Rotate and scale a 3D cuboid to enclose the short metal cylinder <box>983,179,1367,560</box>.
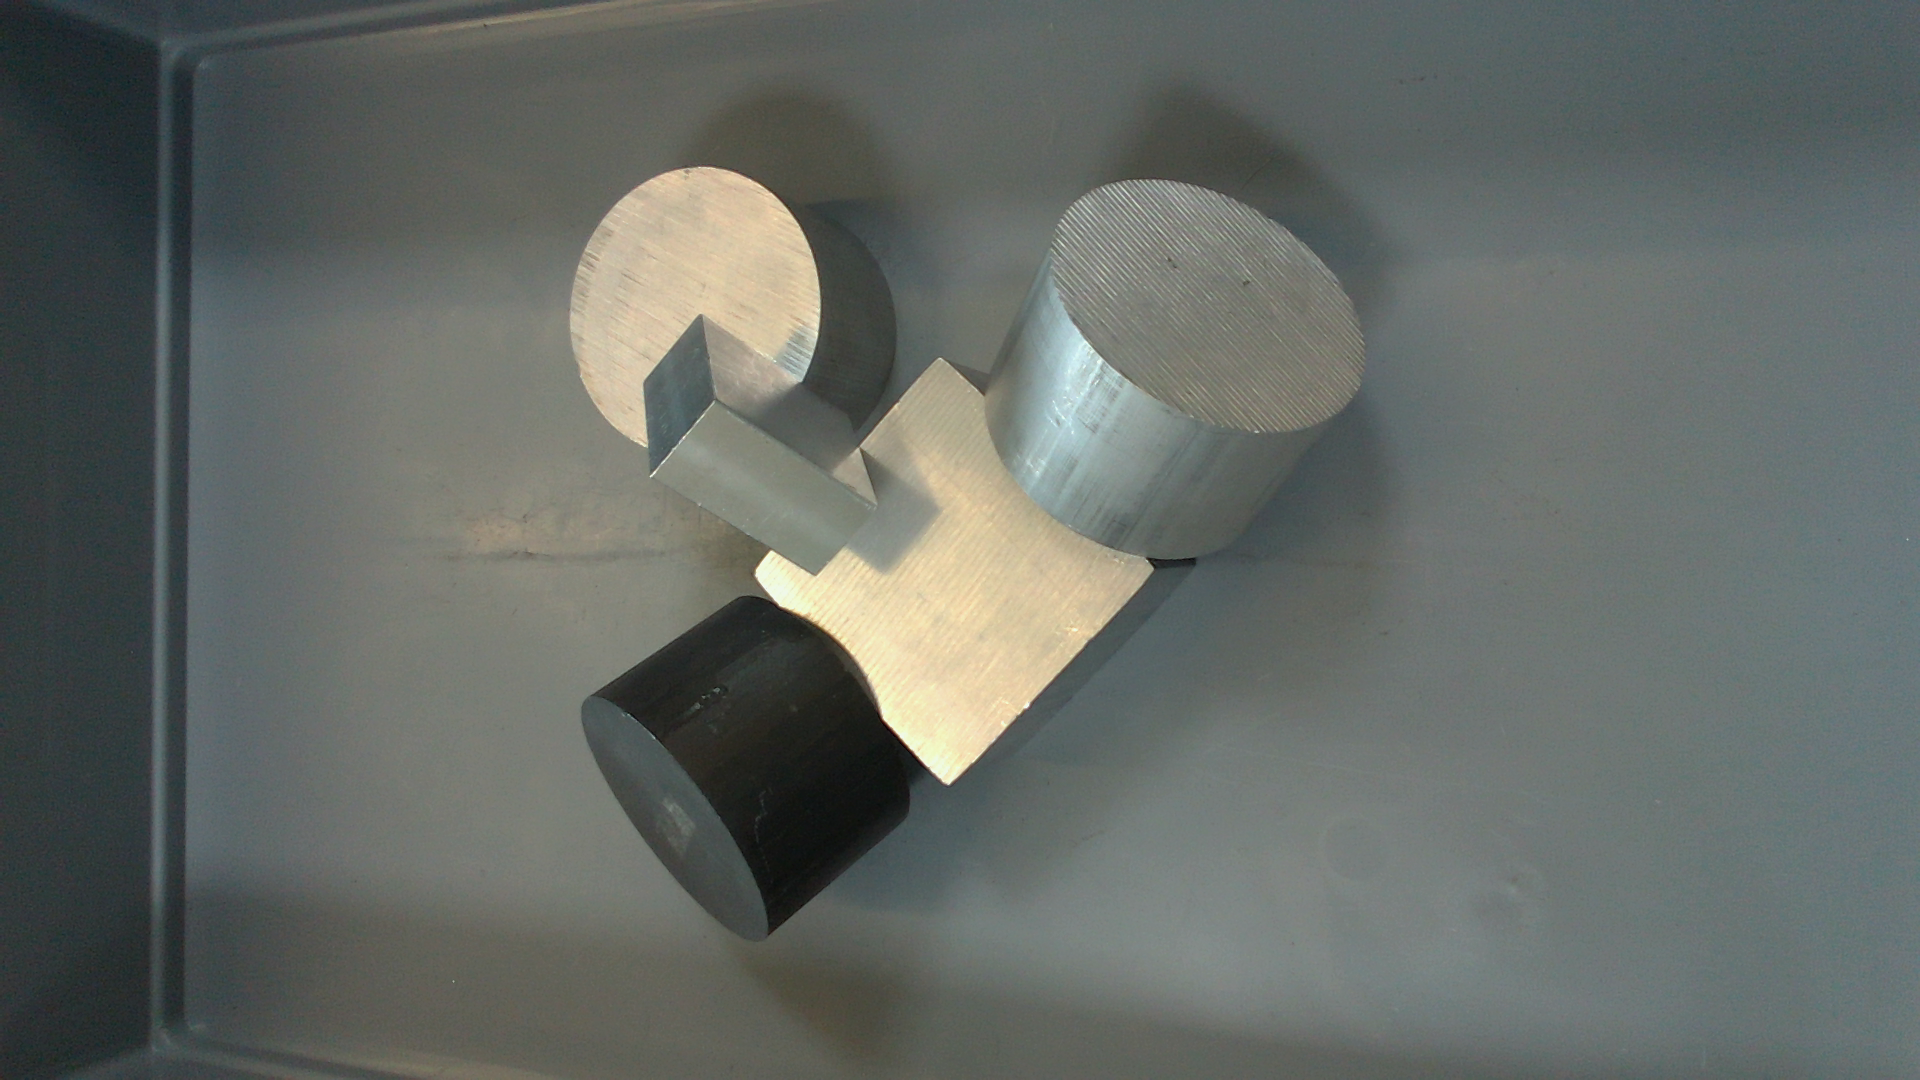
[{"bbox_3d":[0.051,-0.042,0.339,0.080,0.080,0.050,45,143,14],"label":"short metal cylinder"}]

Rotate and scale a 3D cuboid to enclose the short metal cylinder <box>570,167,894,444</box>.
[{"bbox_3d":[-0.066,-0.063,0.405,0.080,0.050,0.080,0,90,20],"label":"short metal cylinder"}]

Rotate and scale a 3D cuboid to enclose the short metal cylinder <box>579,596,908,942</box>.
[{"bbox_3d":[-0.060,0.063,0.381,0.080,0.050,0.080,35,146,29],"label":"short metal cylinder"}]

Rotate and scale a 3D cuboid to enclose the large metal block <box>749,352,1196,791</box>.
[{"bbox_3d":[0.004,0.008,0.377,0.080,0.050,0.080,46,104,14],"label":"large metal block"}]

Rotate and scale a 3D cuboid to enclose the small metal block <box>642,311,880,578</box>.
[{"bbox_3d":[-0.051,-0.025,0.347,0.025,0.050,0.050,-47,32,16],"label":"small metal block"}]
